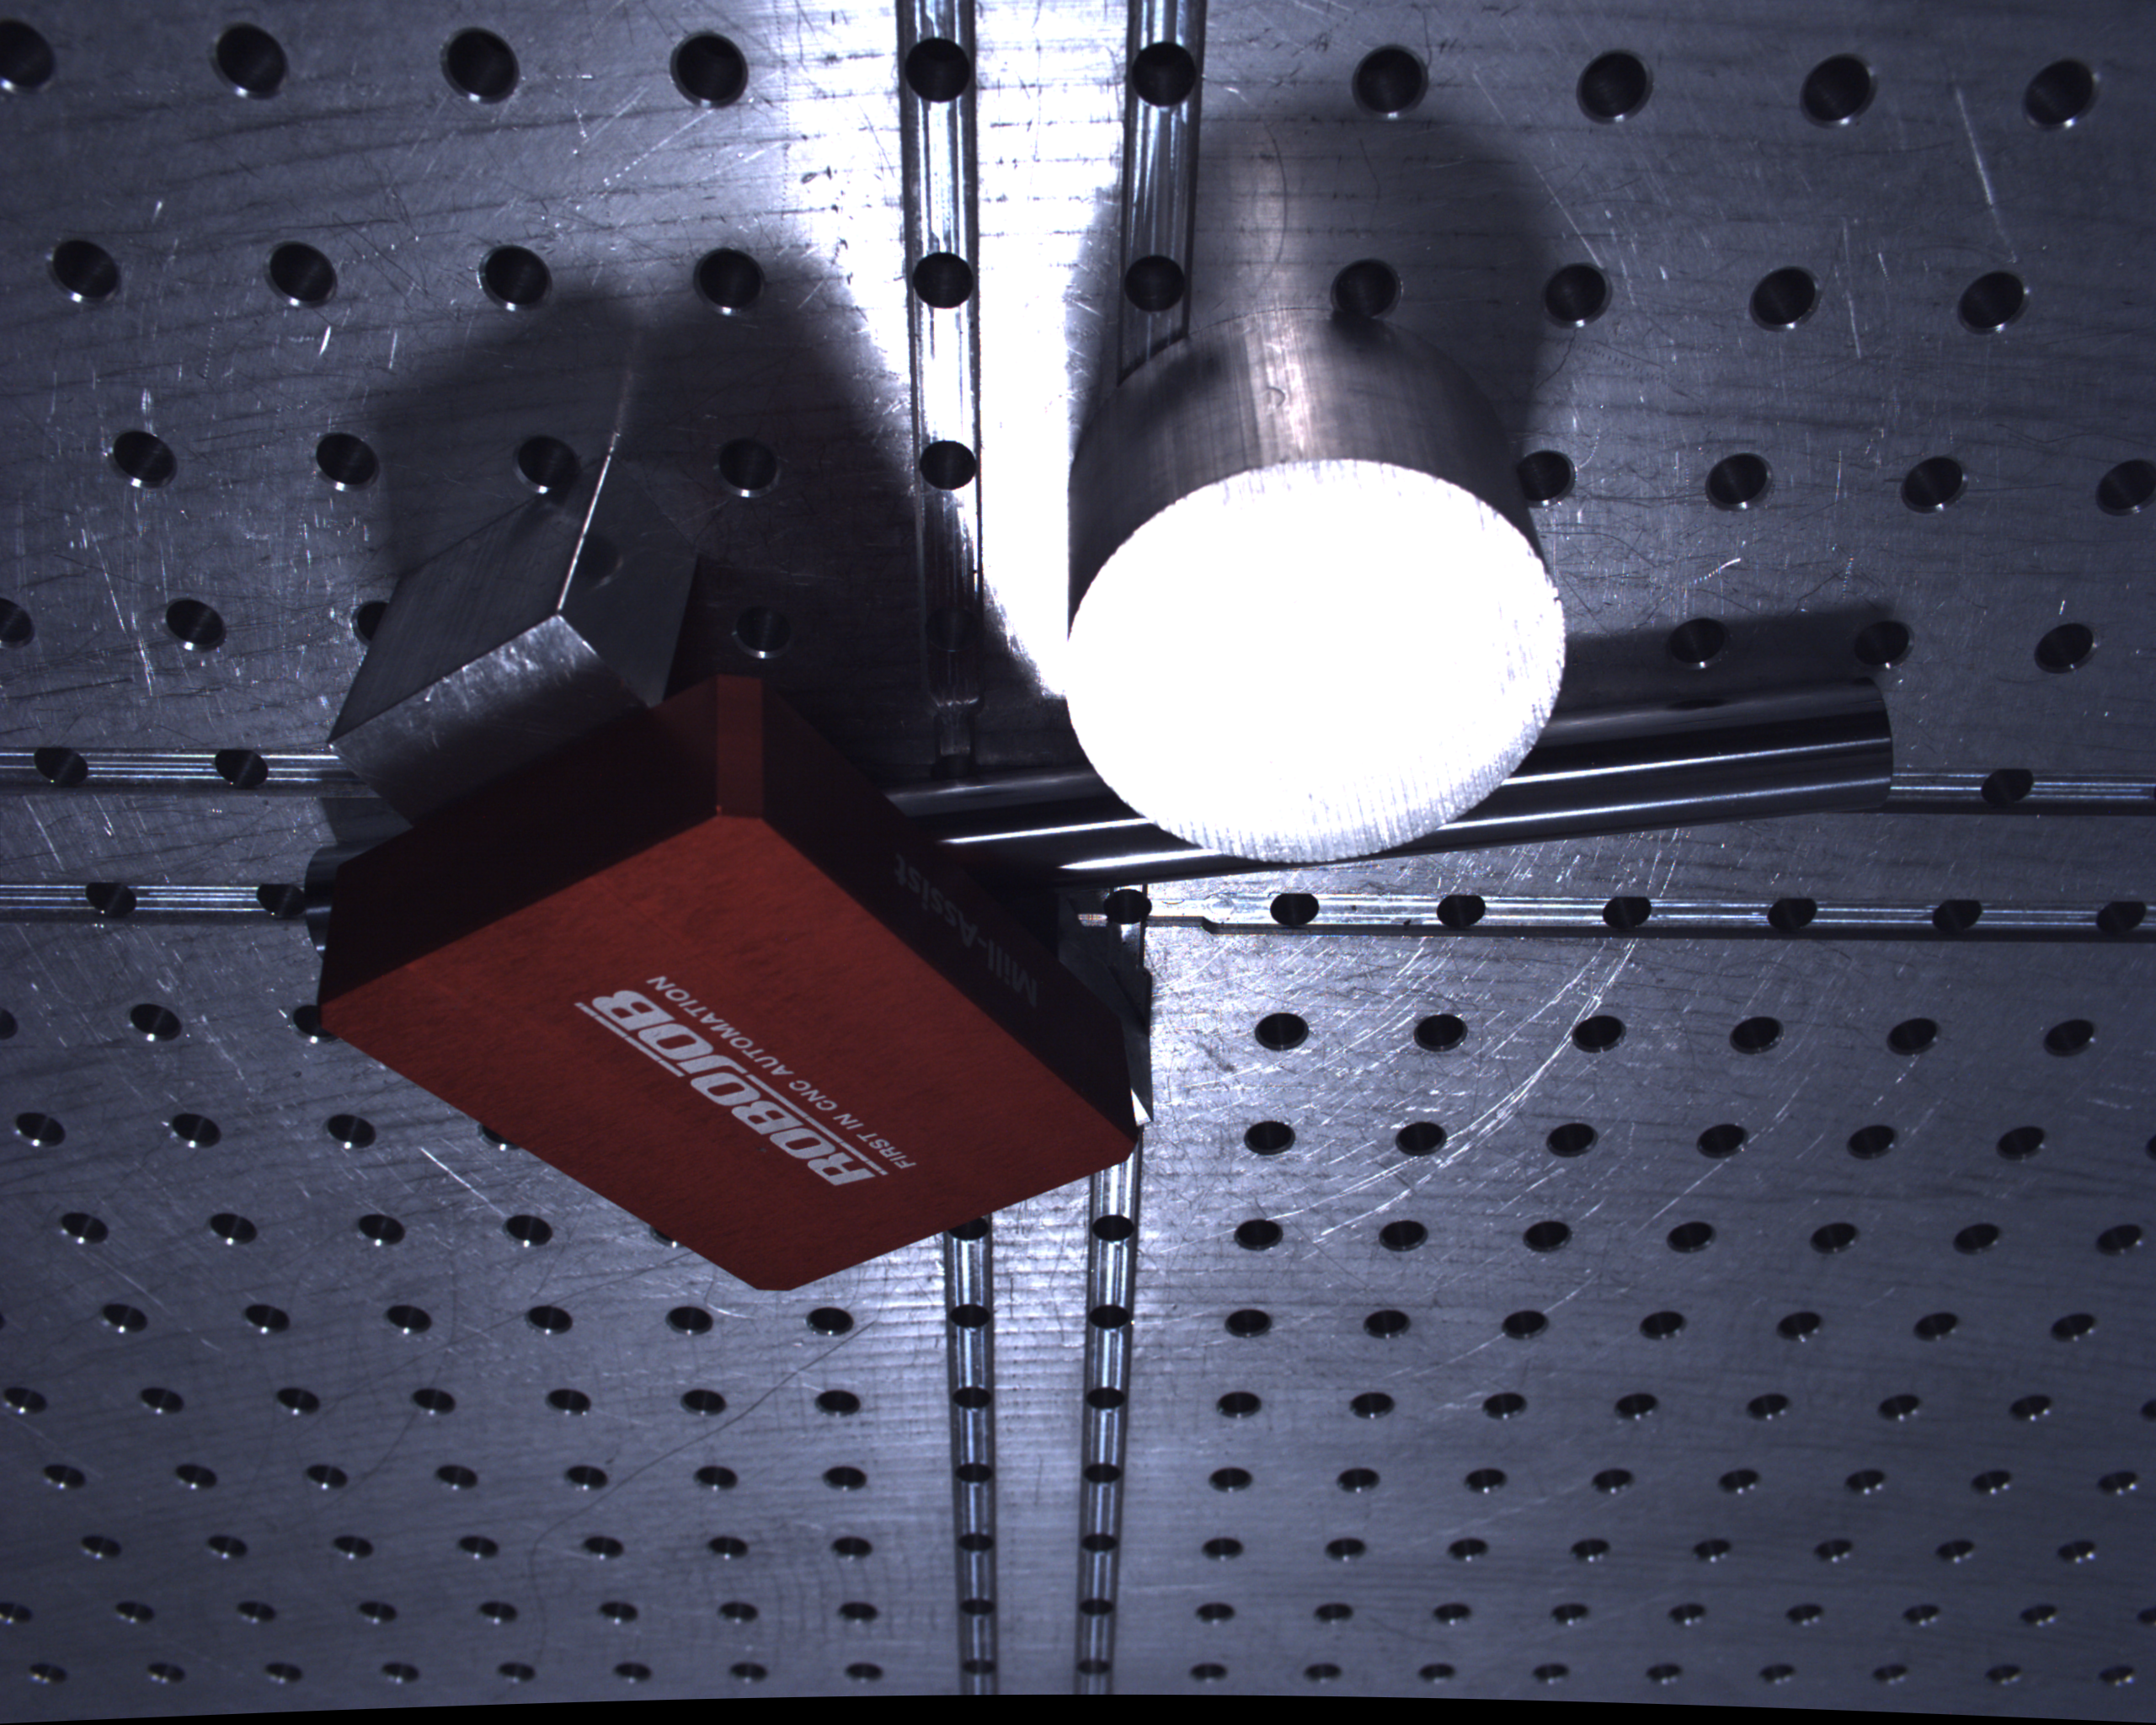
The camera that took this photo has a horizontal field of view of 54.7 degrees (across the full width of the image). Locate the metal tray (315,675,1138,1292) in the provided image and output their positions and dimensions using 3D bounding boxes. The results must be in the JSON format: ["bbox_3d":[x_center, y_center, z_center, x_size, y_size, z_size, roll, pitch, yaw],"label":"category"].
[{"bbox_3d":[-0.059,0.029,0.382,0.090,0.030,0.130,-24,138,19],"label":"metal tray"}]

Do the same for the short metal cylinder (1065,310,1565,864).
[{"bbox_3d":[0.038,-0.046,0.356,0.081,0.050,0.079,0,130,0],"label":"short metal cylinder"}]

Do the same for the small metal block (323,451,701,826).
[{"bbox_3d":[-0.096,-0.038,0.361,0.050,0.050,0.025,-25,126,19],"label":"small metal block"}]

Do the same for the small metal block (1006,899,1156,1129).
[{"bbox_3d":[-0.017,0.038,0.442,0.050,0.025,0.050,-18,128,14],"label":"small metal block"}]

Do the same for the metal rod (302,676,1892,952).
[{"bbox_3d":[0.000,-0.007,0.406,0.302,0.025,0.025,-6,130,4],"label":"metal rod"}]
